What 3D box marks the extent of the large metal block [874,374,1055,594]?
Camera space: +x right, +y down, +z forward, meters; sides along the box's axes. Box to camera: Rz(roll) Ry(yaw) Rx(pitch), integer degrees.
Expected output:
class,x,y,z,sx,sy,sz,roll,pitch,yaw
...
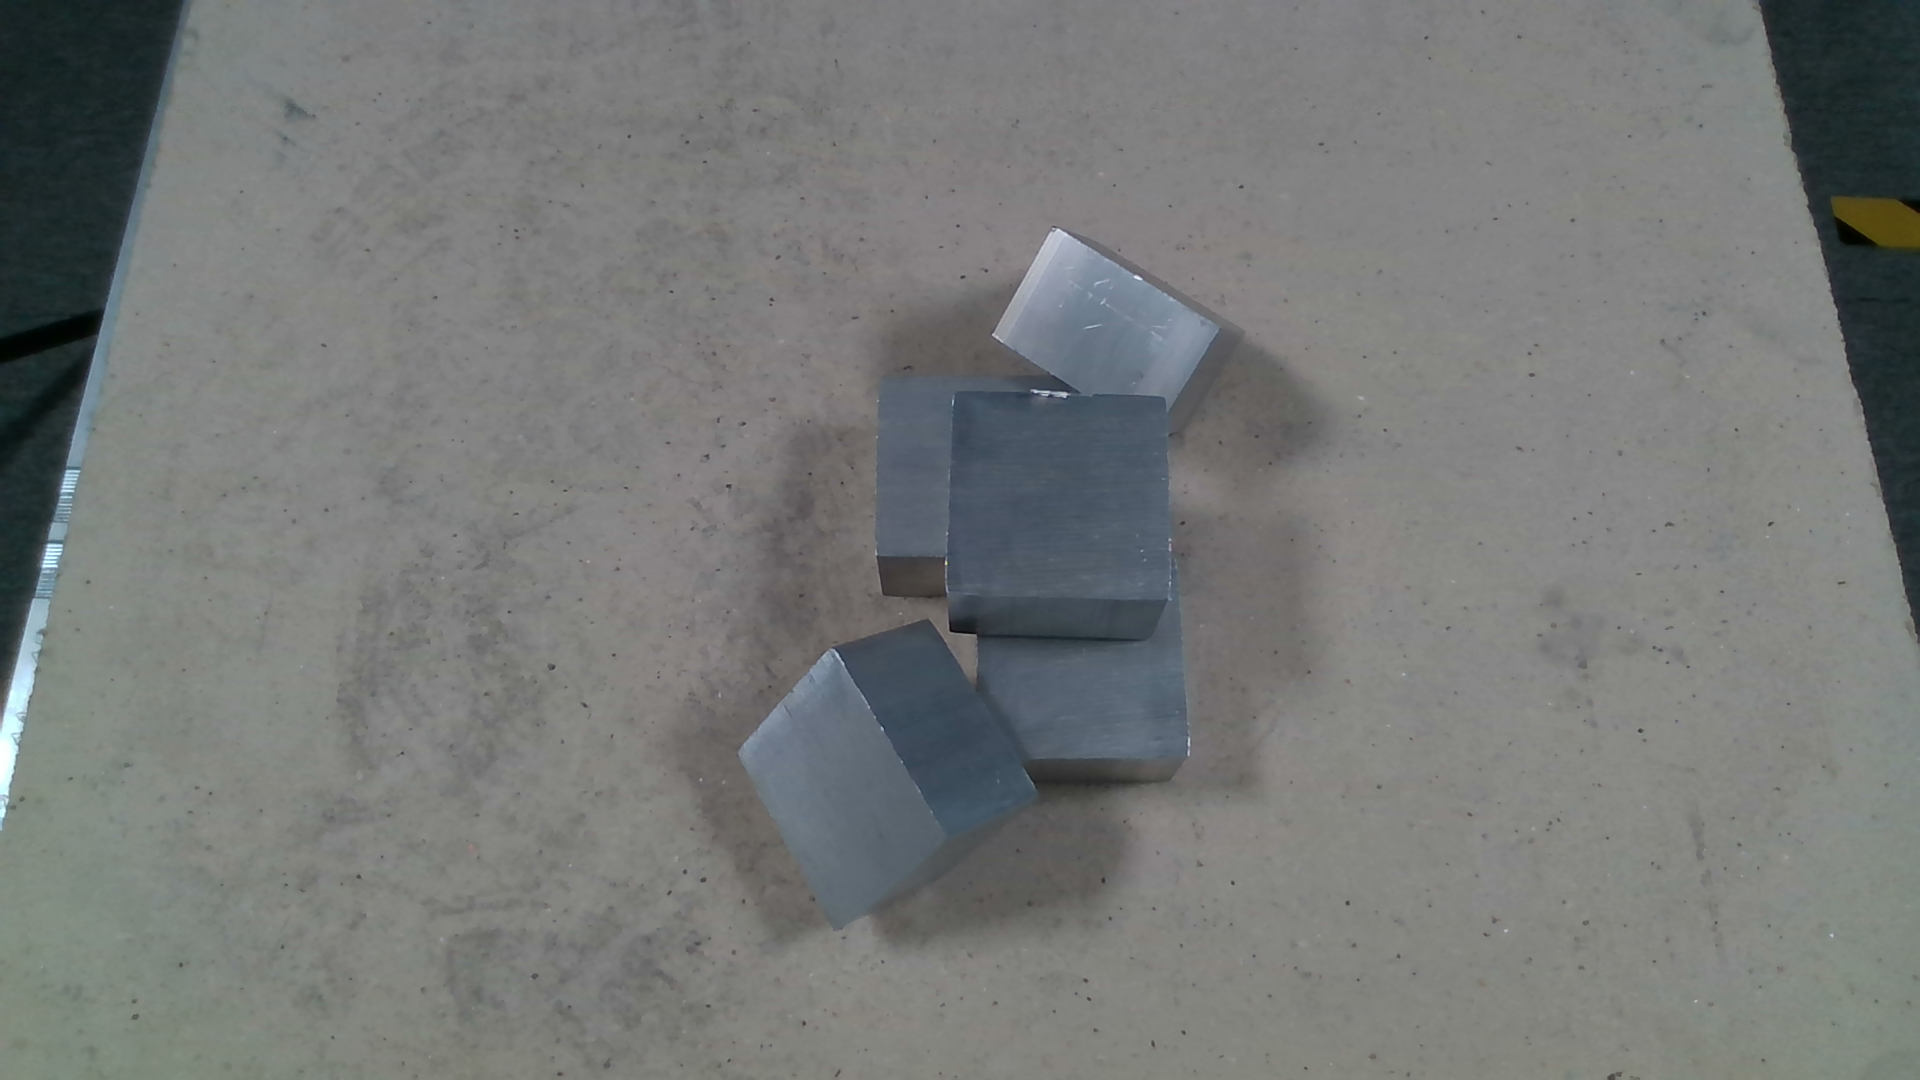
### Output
class,x,y,z,sx,sy,sz,roll,pitch,yaw
large metal block,0.006,-0.023,0.581,0.080,0.050,0.080,0,70,0

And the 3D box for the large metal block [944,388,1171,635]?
class,x,y,z,sx,sy,sz,roll,pitch,yaw
large metal block,0.036,-0.009,0.523,0.080,0.050,0.080,2,70,1

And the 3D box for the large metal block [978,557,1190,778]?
class,x,y,z,sx,sy,sz,roll,pitch,yaw
large metal block,0.047,0.053,0.557,0.080,0.050,0.080,0,70,0

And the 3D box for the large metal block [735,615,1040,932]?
class,x,y,z,sx,sy,sz,roll,pitch,yaw
large metal block,-0.029,0.088,0.521,0.050,0.080,0.080,-15,66,-46

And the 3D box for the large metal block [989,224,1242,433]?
class,x,y,z,sx,sy,sz,roll,pitch,yaw
large metal block,0.069,-0.088,0.583,0.080,0.080,0.050,34,106,11
